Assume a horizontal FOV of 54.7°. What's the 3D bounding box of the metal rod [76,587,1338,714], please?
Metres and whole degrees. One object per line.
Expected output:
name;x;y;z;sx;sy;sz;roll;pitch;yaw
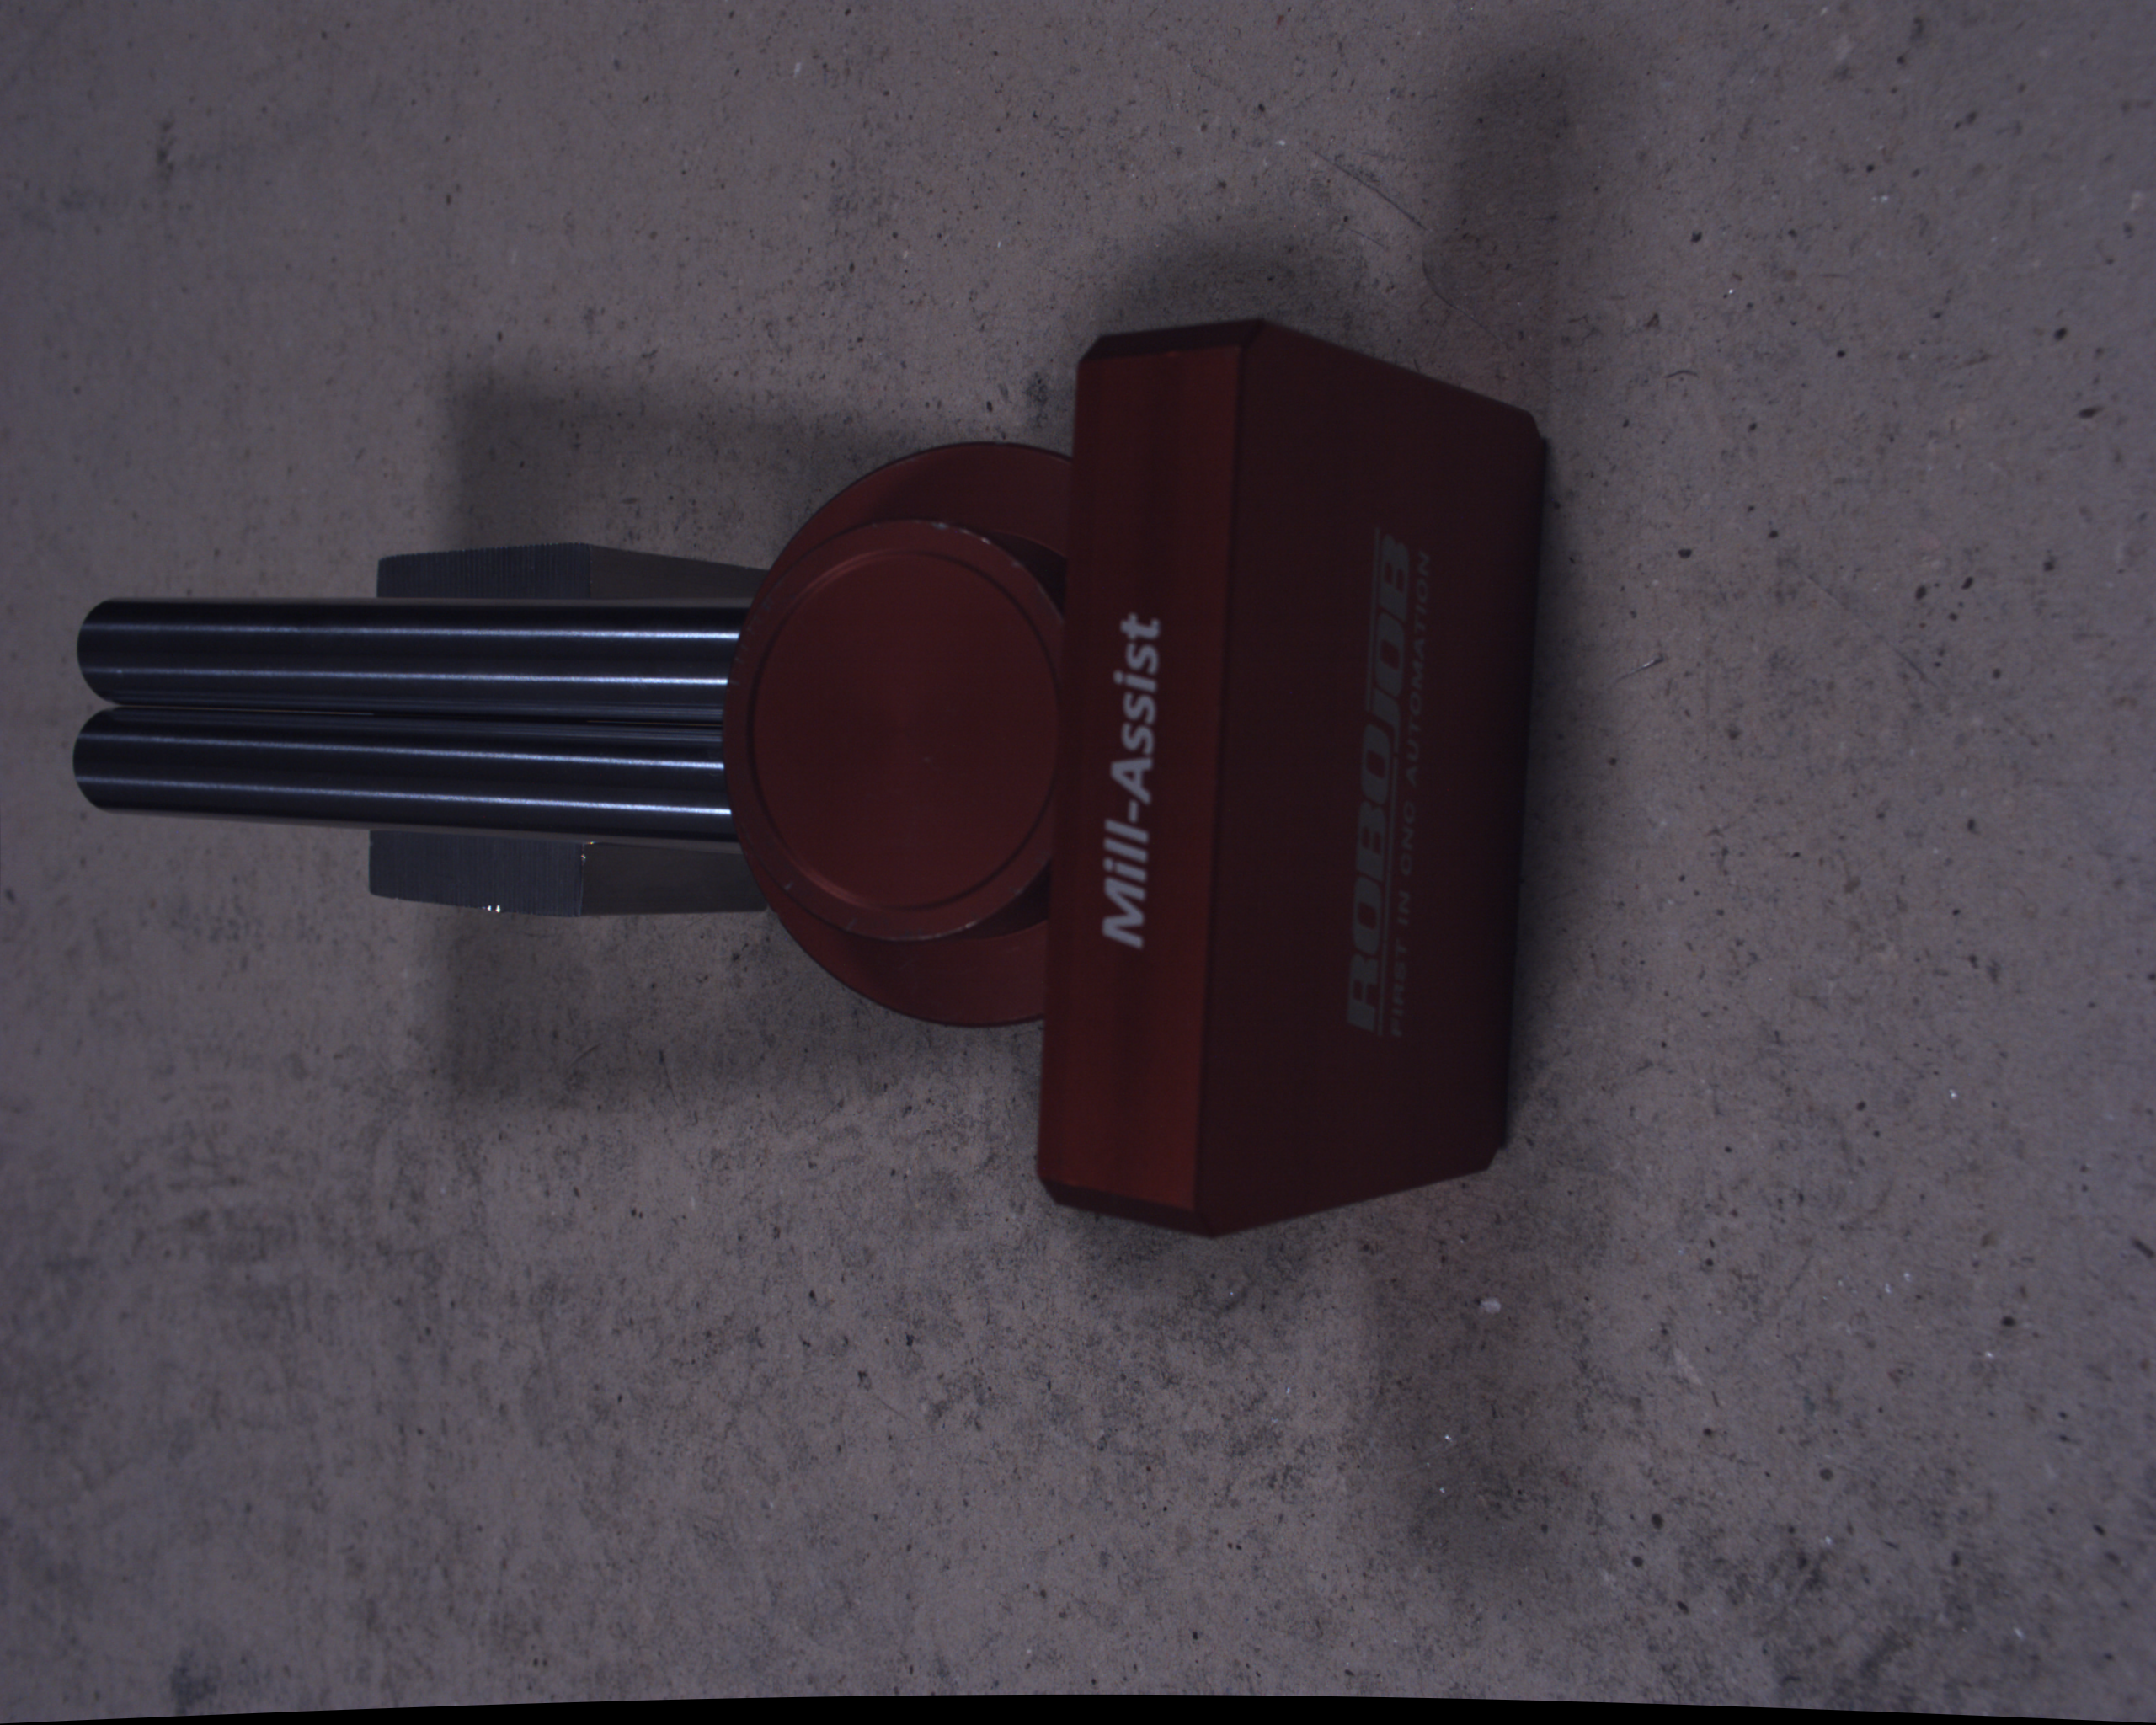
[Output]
metal rod;-0.088;-0.042;0.418;0.301;0.025;0.025;3;92;27

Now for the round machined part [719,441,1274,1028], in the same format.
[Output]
round machined part;-0.020;-0.021;0.346;0.098;0.042;0.097;1;93;29

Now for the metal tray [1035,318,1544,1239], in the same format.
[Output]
metal tray;0.036;-0.012;0.332;0.030;0.091;0.129;5;93;40

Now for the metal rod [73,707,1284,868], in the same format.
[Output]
metal rod;-0.089;-0.016;0.419;0.301;0.025;0.025;4;92;27

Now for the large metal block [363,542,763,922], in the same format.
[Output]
large metal block;-0.118;-0.030;0.480;0.080;0.050;0.079;4;93;39
